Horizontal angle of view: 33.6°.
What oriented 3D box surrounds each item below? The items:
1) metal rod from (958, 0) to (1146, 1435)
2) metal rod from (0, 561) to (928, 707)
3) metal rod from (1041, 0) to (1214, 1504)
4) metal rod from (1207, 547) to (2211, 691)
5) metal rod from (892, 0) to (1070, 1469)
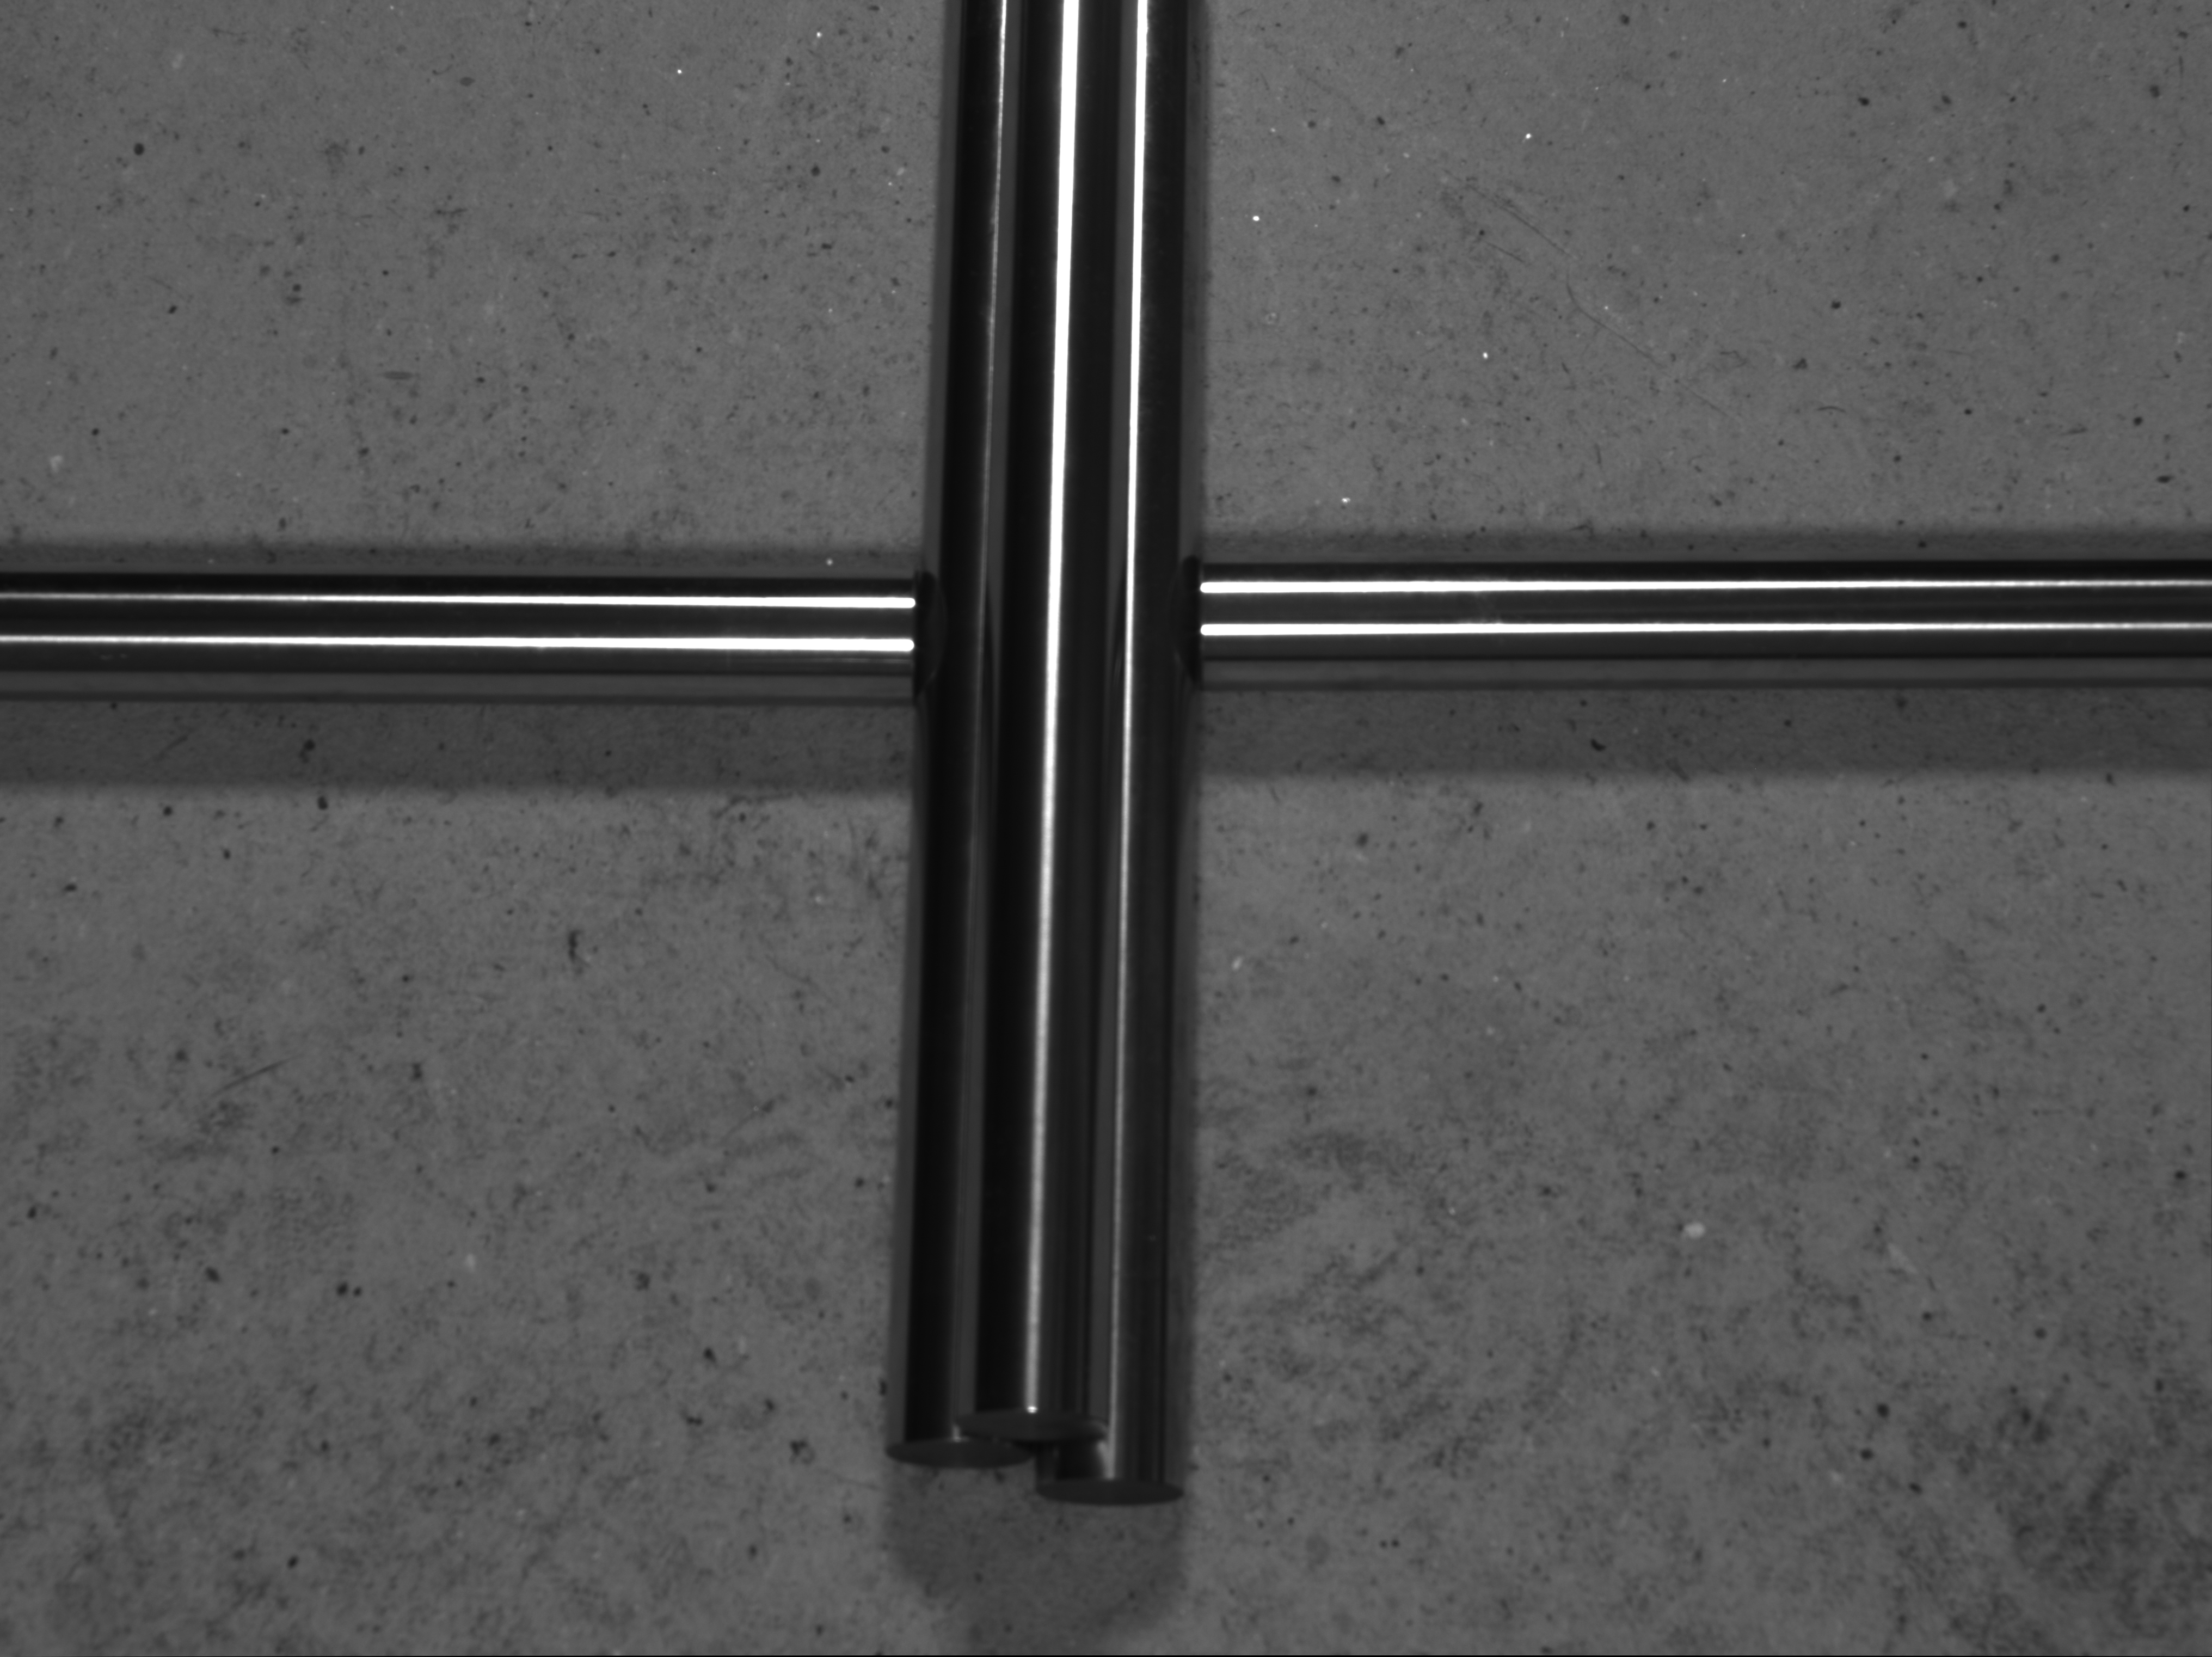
[{"bbox_3d":[-0.008,-0.046,0.640,0.025,0.025,0.300,1,70,1],"label":"metal rod"},{"bbox_3d":[-0.182,-0.035,0.658,0.300,0.025,0.025,0,70,0],"label":"metal rod"},{"bbox_3d":[0.005,-0.031,0.657,0.025,0.025,0.300,1,70,1],"label":"metal rod"},{"bbox_3d":[0.168,-0.038,0.659,0.300,0.025,0.025,0,70,0],"label":"metal rod"},{"bbox_3d":[-0.019,-0.037,0.659,0.025,0.025,0.300,1,70,1],"label":"metal rod"}]
